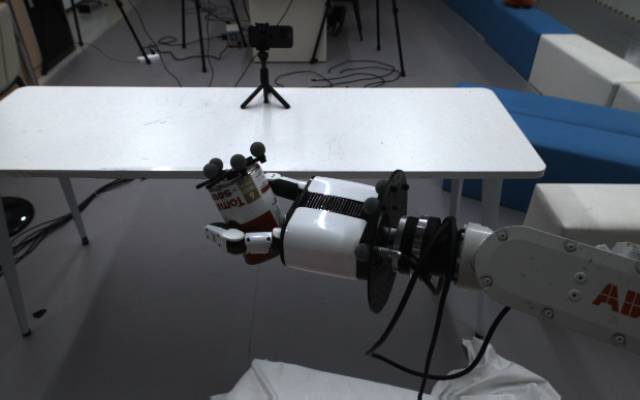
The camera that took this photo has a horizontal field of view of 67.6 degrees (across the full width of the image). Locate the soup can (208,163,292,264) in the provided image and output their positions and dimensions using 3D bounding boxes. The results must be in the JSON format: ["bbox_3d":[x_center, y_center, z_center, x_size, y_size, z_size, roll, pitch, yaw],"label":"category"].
[{"bbox_3d":[-0.077,0.015,0.574,0.067,0.101,0.067,-24,16,7],"label":"soup can"}]
